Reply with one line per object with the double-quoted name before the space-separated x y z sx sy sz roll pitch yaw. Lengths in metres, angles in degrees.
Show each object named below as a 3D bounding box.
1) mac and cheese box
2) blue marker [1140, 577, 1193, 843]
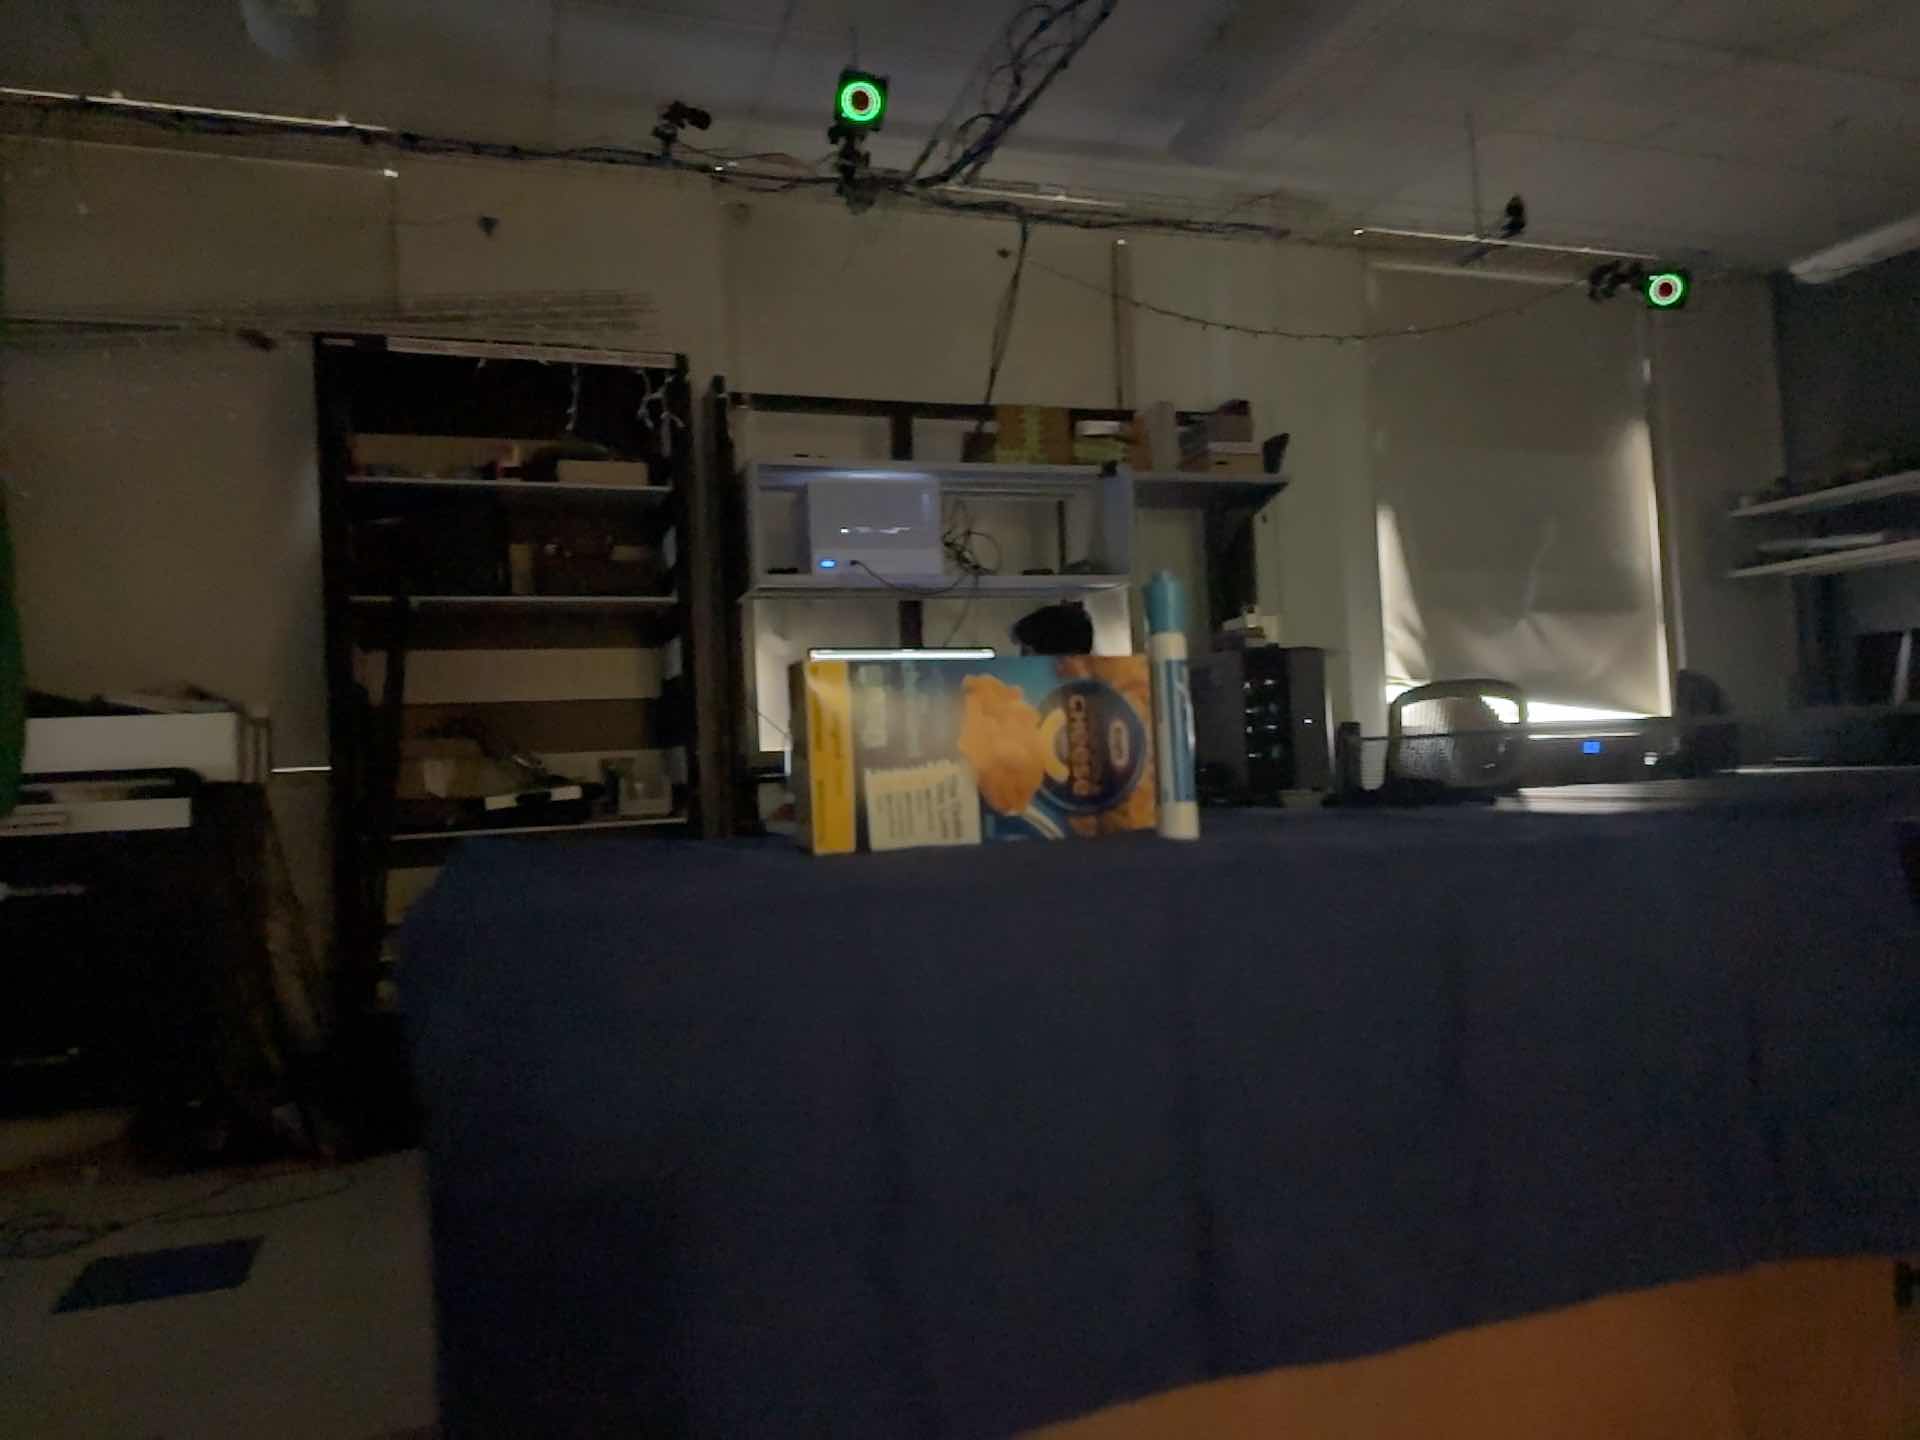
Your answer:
"mac and cheese box" 0.009 0.015 0.655 0.181 0.088 0.035 -2 -3 -22
"blue marker" 0.094 -0.005 0.615 0.020 0.121 0.020 -2 -3 0
